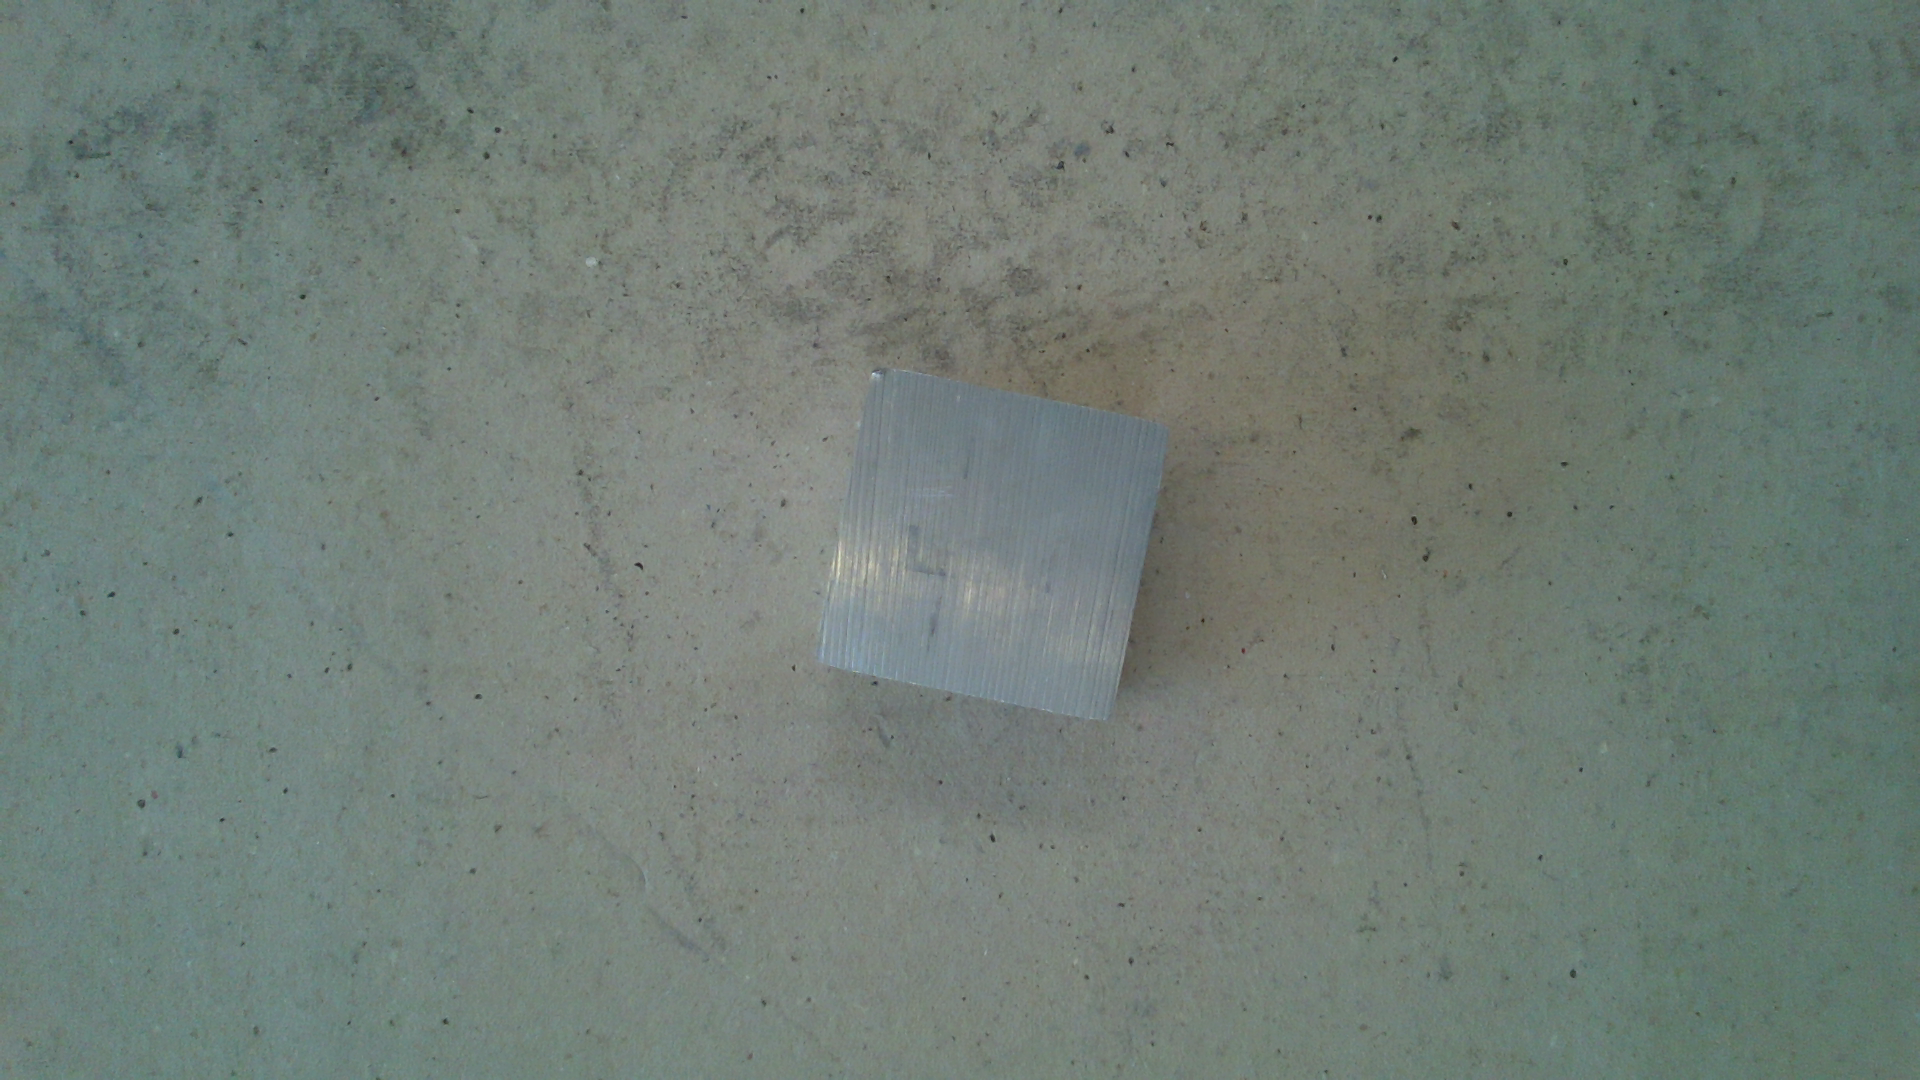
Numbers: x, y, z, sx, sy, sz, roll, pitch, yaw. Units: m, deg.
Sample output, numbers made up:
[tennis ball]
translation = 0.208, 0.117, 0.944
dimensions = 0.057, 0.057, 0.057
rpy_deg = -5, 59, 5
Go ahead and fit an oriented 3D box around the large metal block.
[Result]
[large metal block]
translation = 0.008, 0.001, 0.383
dimensions = 0.080, 0.050, 0.080
rpy_deg = 11, 90, -1
